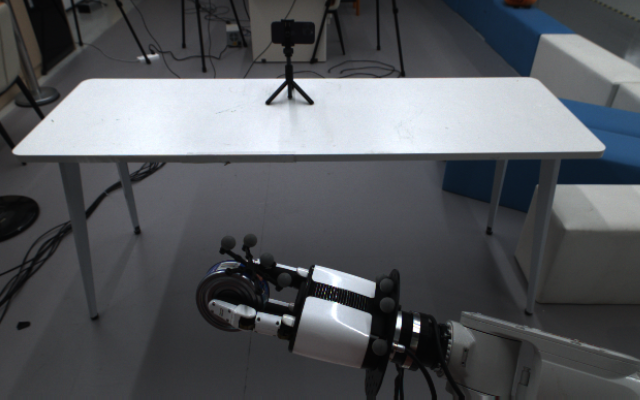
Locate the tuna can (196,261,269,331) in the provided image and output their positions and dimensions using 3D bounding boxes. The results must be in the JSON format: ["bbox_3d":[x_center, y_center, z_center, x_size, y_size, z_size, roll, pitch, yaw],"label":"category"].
[{"bbox_3d":[-0.105,0.118,0.594,0.085,0.085,0.034,7,19,6],"label":"tuna can"}]
